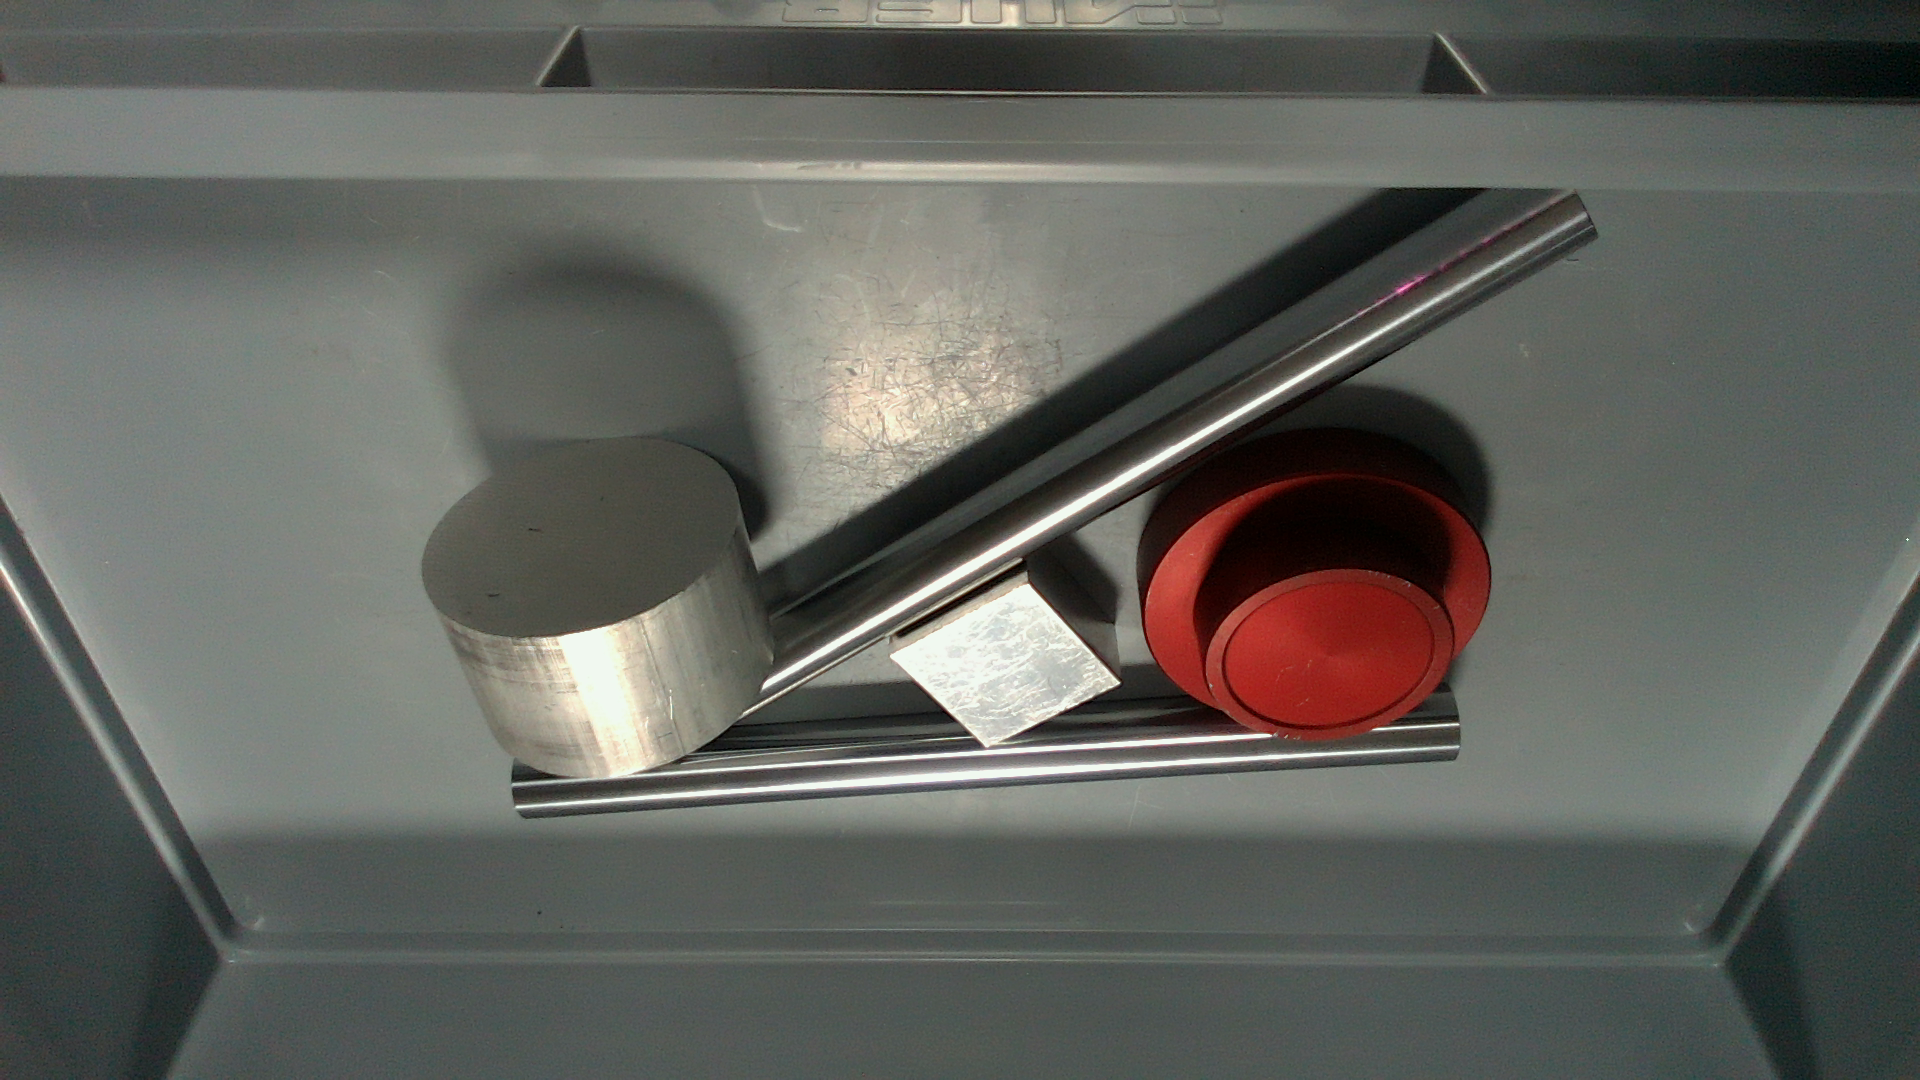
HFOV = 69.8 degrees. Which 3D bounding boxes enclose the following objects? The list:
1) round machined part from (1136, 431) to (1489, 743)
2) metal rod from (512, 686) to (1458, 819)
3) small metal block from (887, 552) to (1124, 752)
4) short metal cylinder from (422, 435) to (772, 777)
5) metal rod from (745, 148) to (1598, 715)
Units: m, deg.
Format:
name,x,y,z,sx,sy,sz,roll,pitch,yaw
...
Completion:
name,x,y,z,sx,sy,sz,roll,pitch,yaw
round machined part,0.101,0.020,0.394,0.098,0.042,0.098,0,130,0
metal rod,0.006,0.068,0.447,0.300,0.025,0.025,-4,130,3
small metal block,0.014,0.031,0.415,0.050,0.025,0.050,-29,124,22
short metal cylinder,-0.094,0.016,0.367,0.080,0.080,0.050,-4,130,3
metal rod,0.023,-0.012,0.379,0.299,0.025,0.025,-30,124,23
